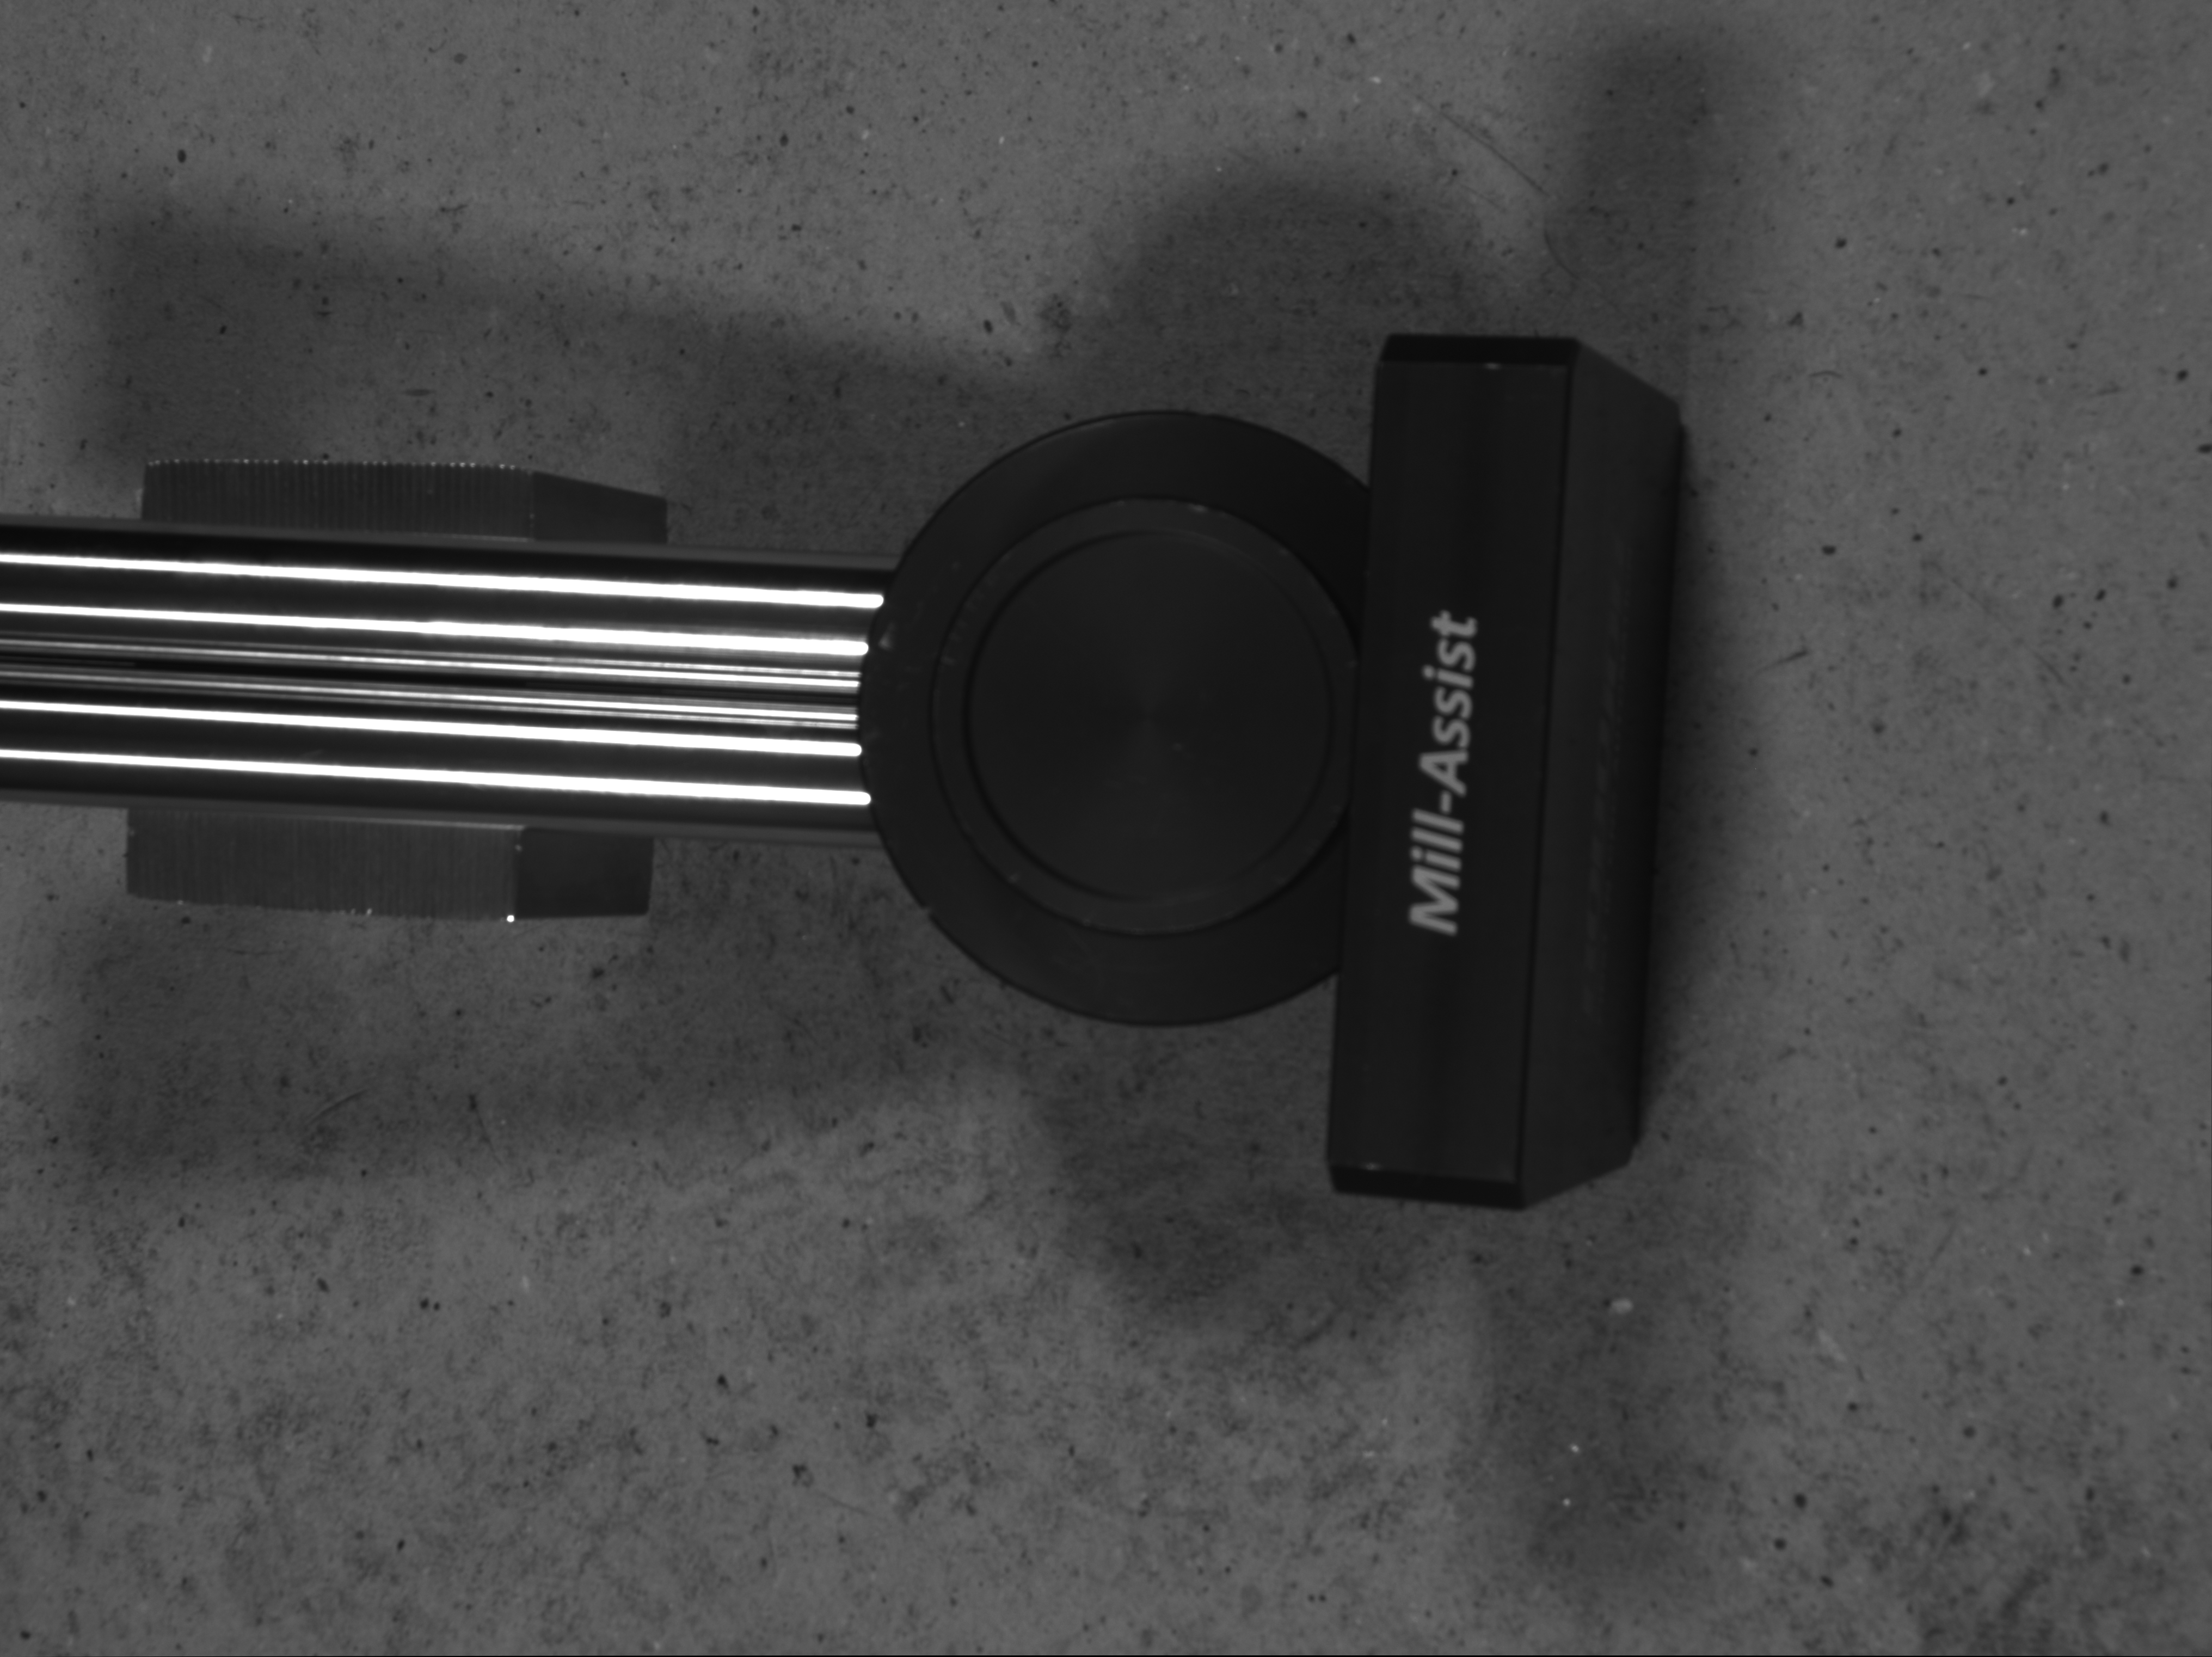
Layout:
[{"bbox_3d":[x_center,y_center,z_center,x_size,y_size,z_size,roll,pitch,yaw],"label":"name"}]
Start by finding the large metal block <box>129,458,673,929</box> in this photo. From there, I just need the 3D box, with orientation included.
[{"bbox_3d":[-0.129,-0.025,0.673,0.080,0.050,0.080,3,91,20],"label":"large metal block"}]

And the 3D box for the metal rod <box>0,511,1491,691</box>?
[{"bbox_3d":[-0.079,-0.038,0.625,0.300,0.025,0.025,3,91,7],"label":"metal rod"}]

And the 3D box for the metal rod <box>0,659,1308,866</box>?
[{"bbox_3d":[-0.081,-0.011,0.626,0.300,0.025,0.025,3,91,7],"label":"metal rod"}]

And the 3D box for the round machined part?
[{"bbox_3d":[0.009,-0.017,0.580,0.098,0.042,0.098,0,92,9],"label":"round machined part"}]

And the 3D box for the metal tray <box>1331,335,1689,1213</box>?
[{"bbox_3d":[0.066,-0.008,0.586,0.030,0.090,0.130,4,91,20],"label":"metal tray"}]
